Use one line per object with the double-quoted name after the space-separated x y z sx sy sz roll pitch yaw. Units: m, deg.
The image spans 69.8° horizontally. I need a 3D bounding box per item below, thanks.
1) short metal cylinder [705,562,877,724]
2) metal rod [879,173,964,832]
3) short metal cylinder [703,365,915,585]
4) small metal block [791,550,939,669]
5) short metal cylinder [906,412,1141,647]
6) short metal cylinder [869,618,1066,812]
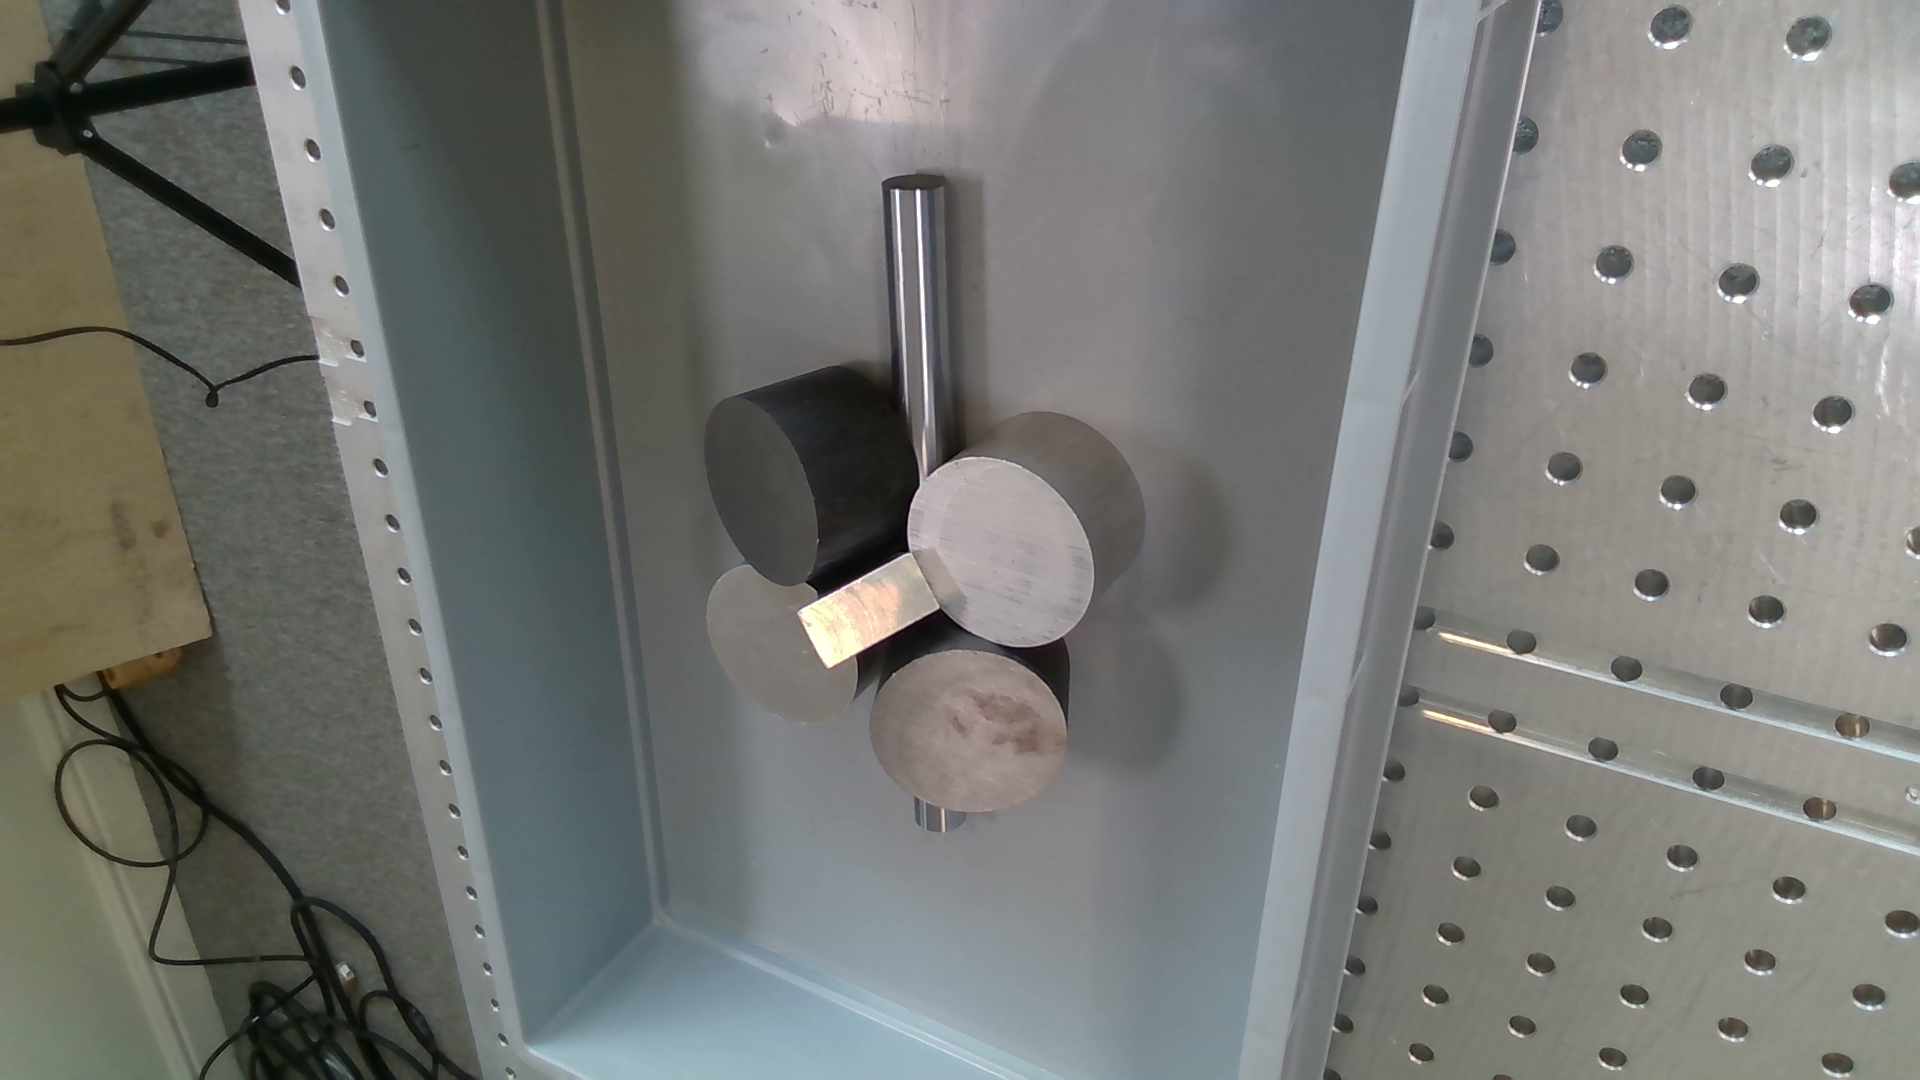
-0.068 0.036 0.624 0.080 0.050 0.080 14 122 25 "short metal cylinder"
-0.014 -0.002 0.586 0.025 0.025 0.301 13 121 25 "metal rod"
-0.063 -0.027 0.571 0.080 0.050 0.080 29 131 40 "short metal cylinder"
-0.040 0.027 0.556 0.025 0.050 0.050 63 170 -4 "small metal block"
0.026 -0.005 0.544 0.080 0.050 0.080 14 122 25 "short metal cylinder"
0.005 0.067 0.579 0.080 0.050 0.080 2 118 4 "short metal cylinder"
